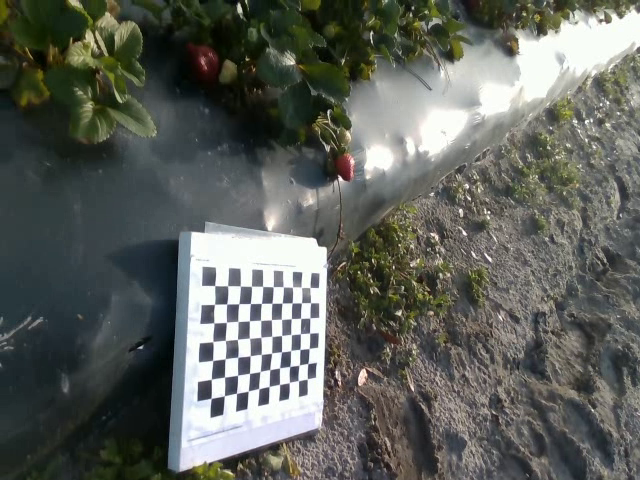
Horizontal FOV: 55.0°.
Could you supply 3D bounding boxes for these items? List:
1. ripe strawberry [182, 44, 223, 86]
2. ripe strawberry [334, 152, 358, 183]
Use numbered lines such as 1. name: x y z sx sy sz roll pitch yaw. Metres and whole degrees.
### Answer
1. ripe strawberry: -0.173 -0.256 0.884 0.057 0.058 0.071 5 -13 10
2. ripe strawberry: 0.051 -0.124 1.031 0.034 0.050 0.047 -8 12 36
